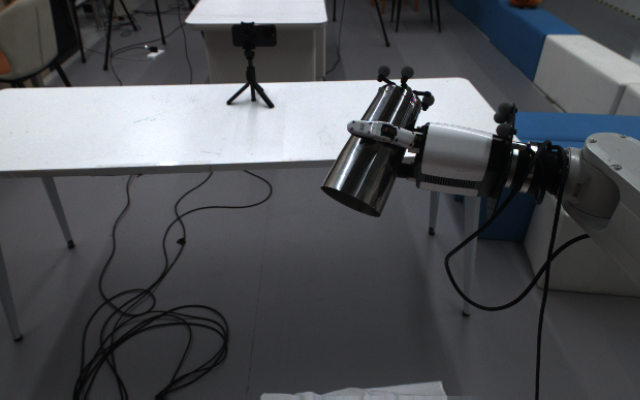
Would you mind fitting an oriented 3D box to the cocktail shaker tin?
[{"bbox_3d":[0.081,-0.076,0.680,0.093,0.093,0.170,21,81,25],"label":"cocktail shaker tin"}]
